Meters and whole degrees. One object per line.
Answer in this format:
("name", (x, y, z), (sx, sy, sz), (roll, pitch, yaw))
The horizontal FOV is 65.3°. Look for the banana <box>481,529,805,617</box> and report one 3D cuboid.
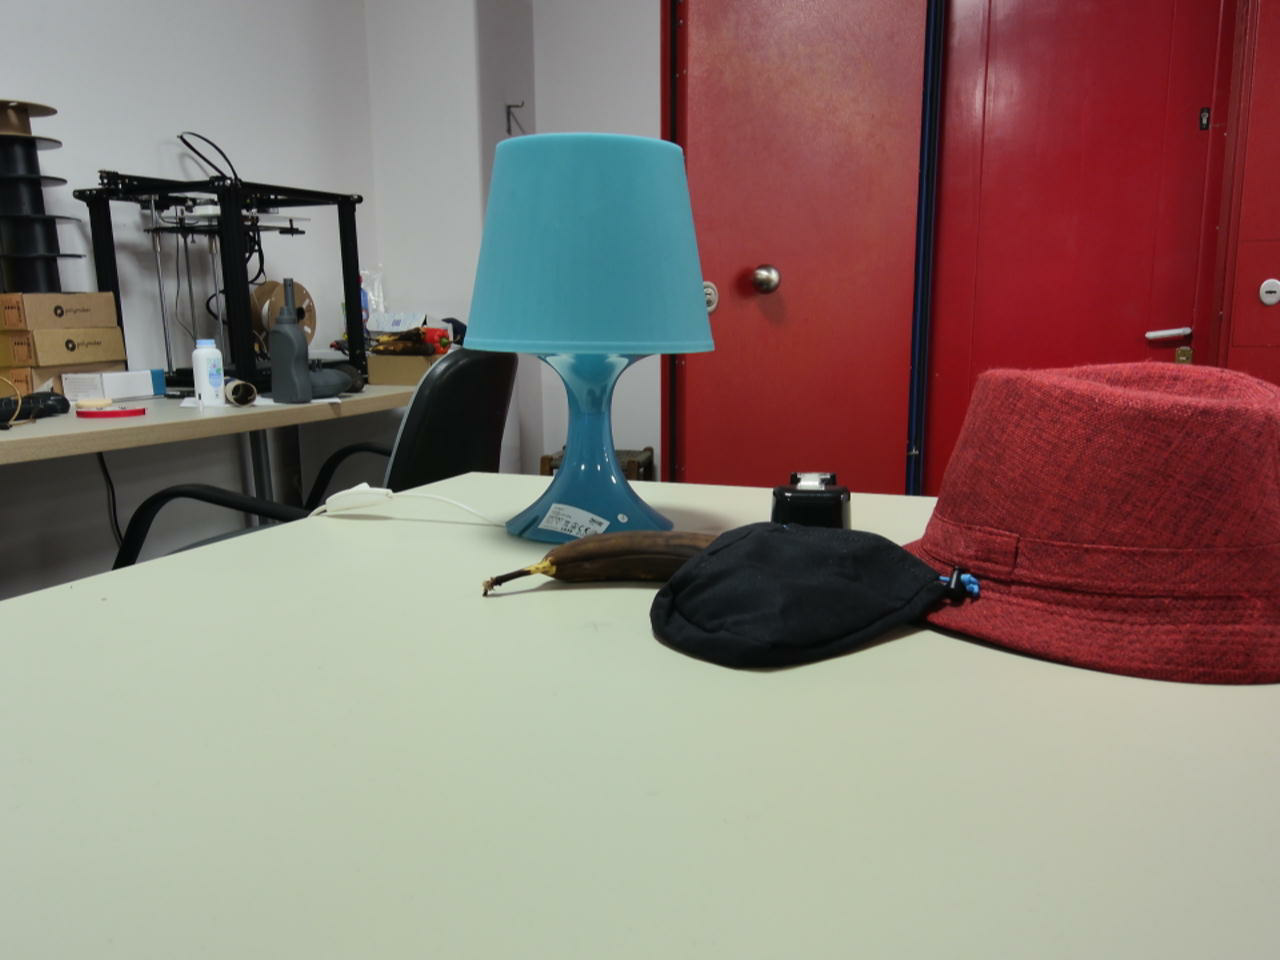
("banana", (0.009, 0.052, 0.595), (0.188, 0.033, 0.091), (3, 8, 24))
